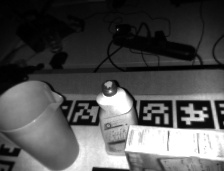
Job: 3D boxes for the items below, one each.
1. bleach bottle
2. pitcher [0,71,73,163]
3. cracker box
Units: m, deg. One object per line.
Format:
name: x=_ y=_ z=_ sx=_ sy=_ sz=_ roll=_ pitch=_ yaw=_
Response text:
bleach bottle: x=0.000 y=0.076 z=0.541 sx=0.102 sy=0.253 sz=0.068 roll=-2 pitch=46 yaw=14
pitcher: x=-0.191 y=0.095 z=0.540 sx=0.189 sy=0.244 sz=0.132 roll=-13 pitch=44 yaw=-2
cracker box: x=0.144 y=0.146 z=0.477 sx=0.212 sy=0.166 sz=0.072 roll=-1 pitch=44 yaw=15
